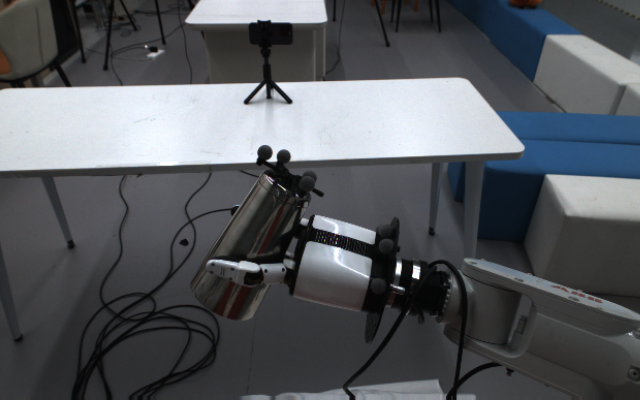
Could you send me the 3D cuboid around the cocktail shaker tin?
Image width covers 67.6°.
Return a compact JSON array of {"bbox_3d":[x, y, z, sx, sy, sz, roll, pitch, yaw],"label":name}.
[{"bbox_3d":[-0.078,0.049,0.592,0.093,0.170,0.093,28,14,-7],"label":"cocktail shaker tin"}]
